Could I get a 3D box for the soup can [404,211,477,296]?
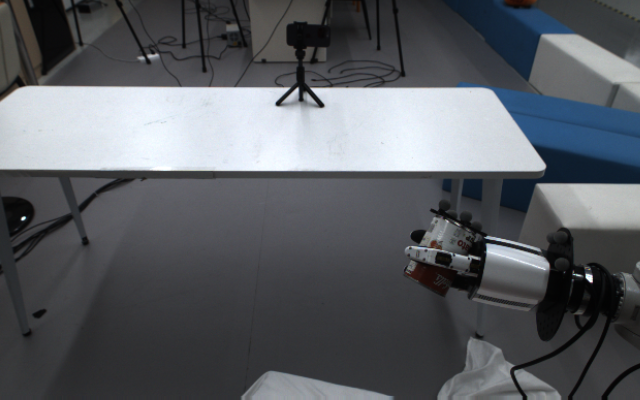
[{"bbox_3d":[0.176,0.080,0.703,0.067,0.101,0.067,28,-3,2],"label":"soup can"}]
